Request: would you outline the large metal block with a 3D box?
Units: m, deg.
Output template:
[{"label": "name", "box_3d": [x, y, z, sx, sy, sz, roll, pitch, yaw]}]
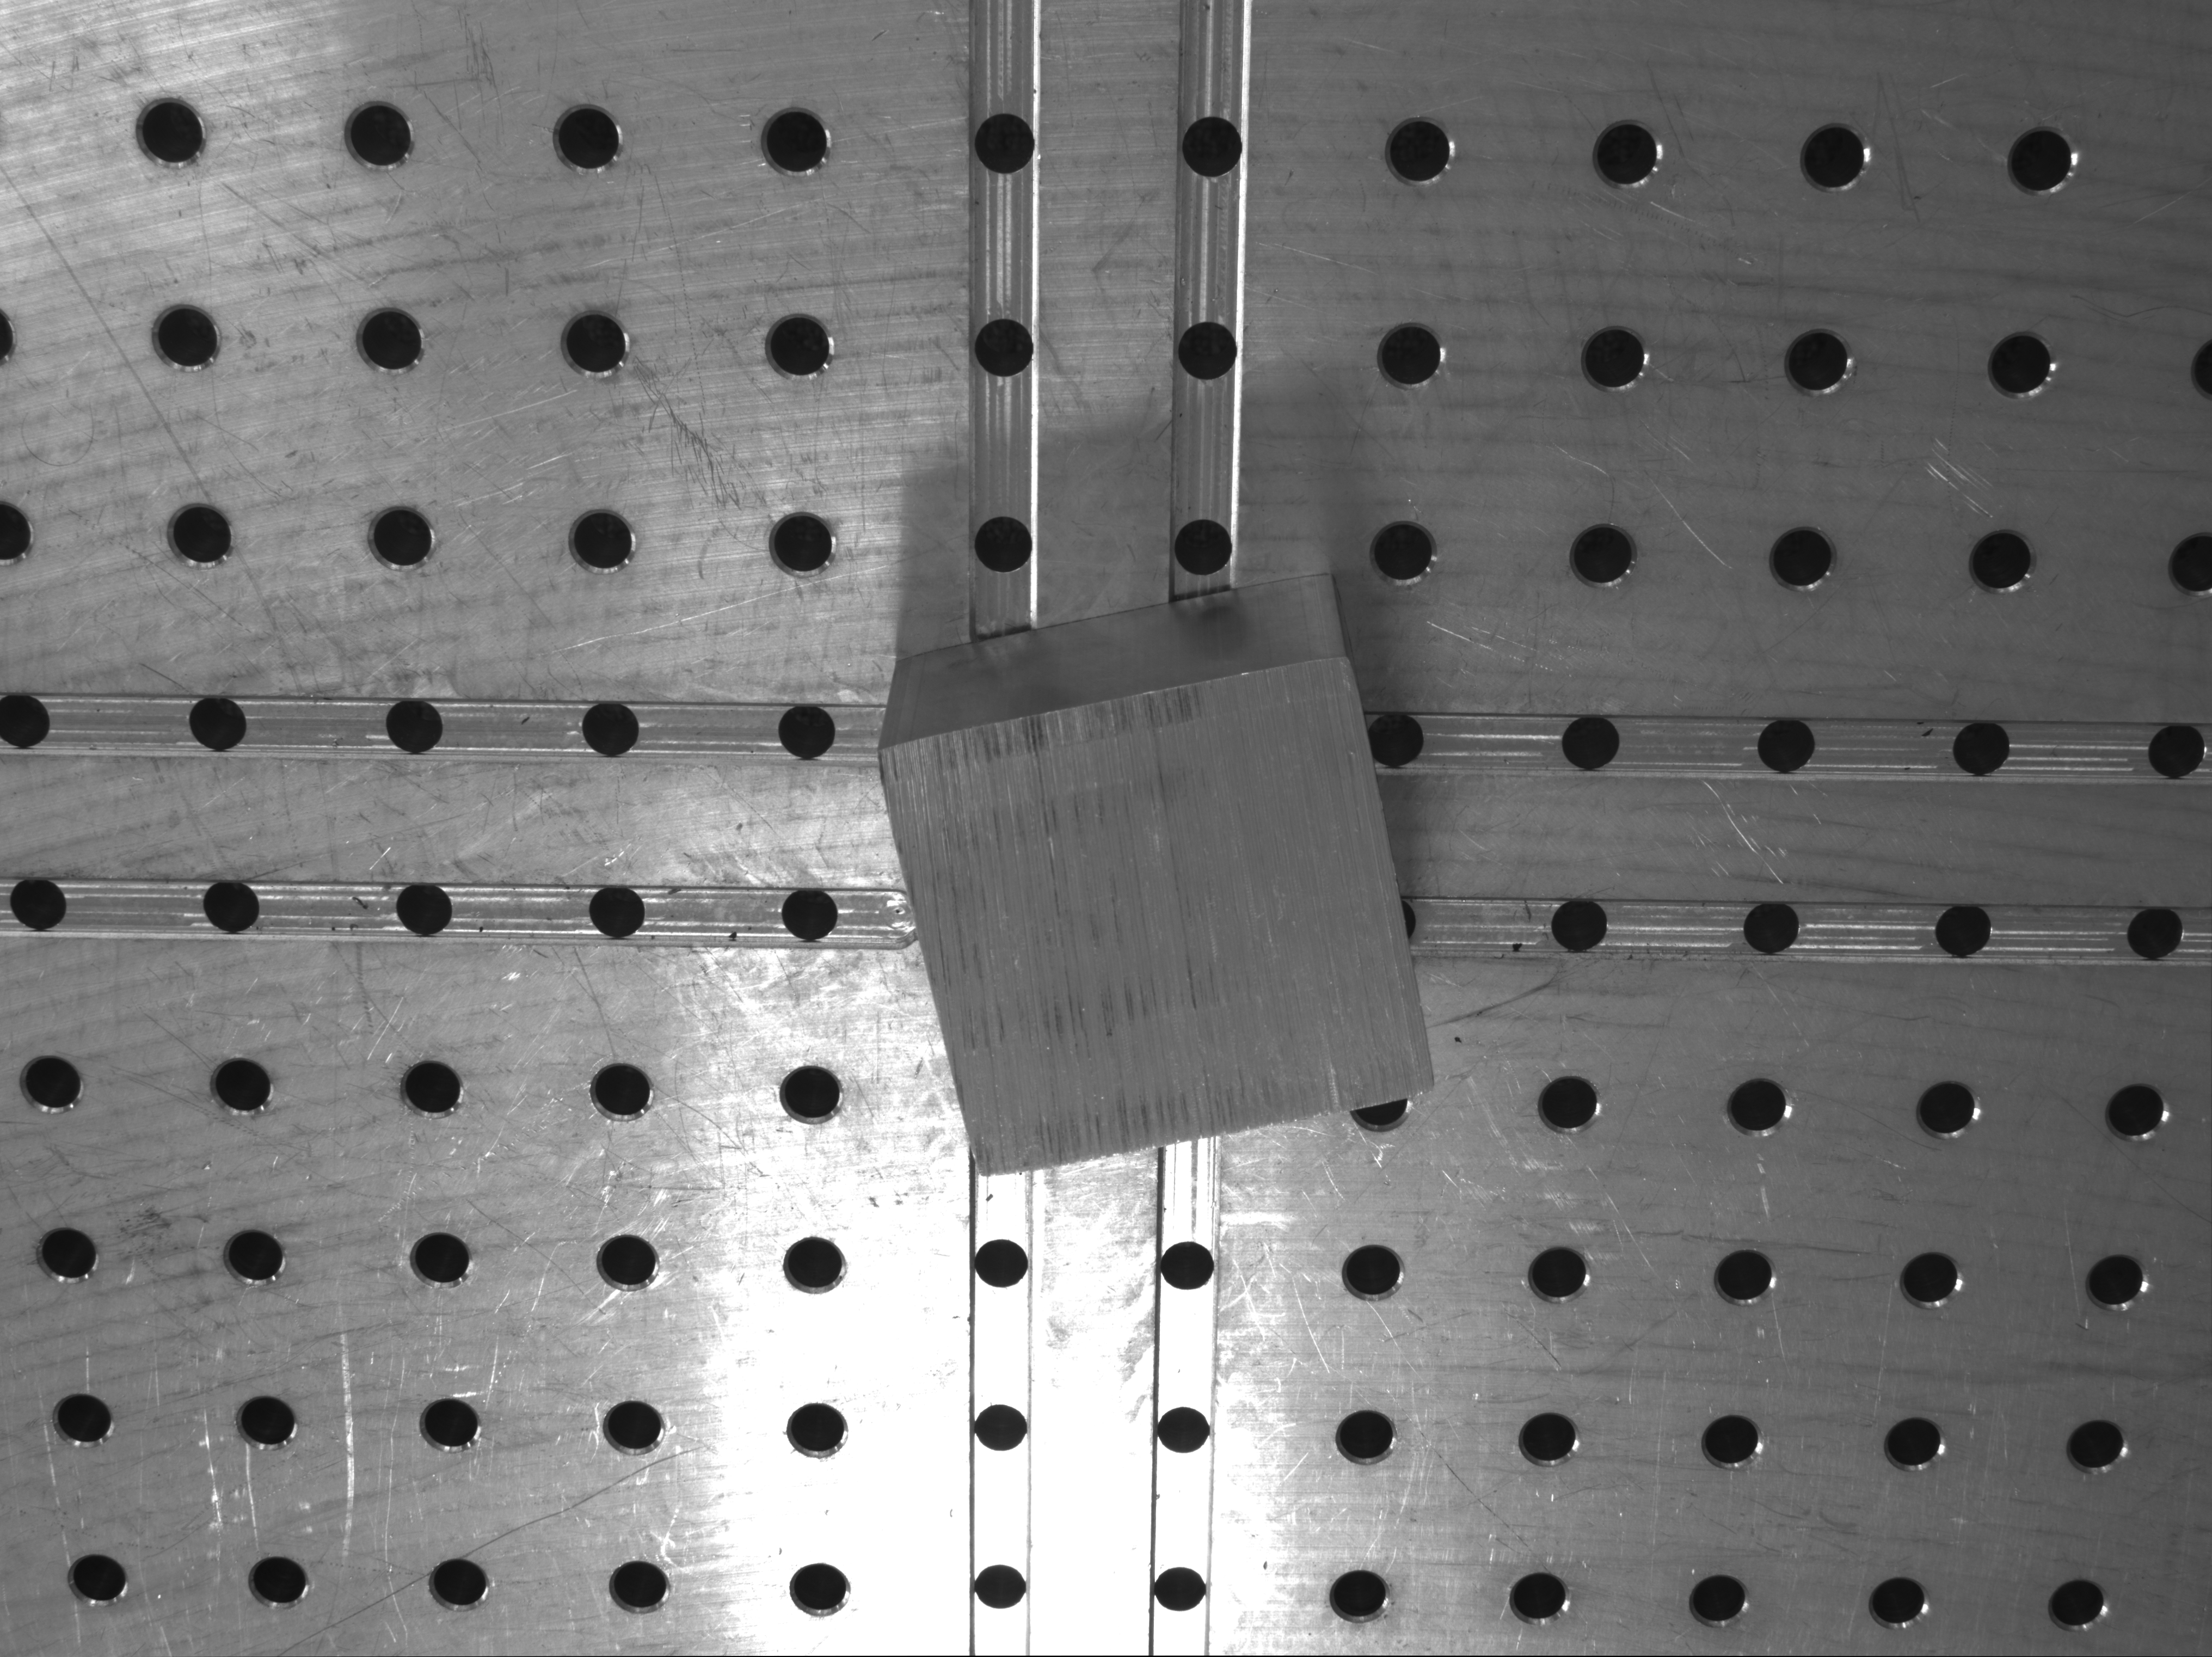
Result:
[{"label": "large metal block", "box_3d": [0.009, 0.008, 0.635, 0.080, 0.050, 0.080, -11, 110, 4]}]
